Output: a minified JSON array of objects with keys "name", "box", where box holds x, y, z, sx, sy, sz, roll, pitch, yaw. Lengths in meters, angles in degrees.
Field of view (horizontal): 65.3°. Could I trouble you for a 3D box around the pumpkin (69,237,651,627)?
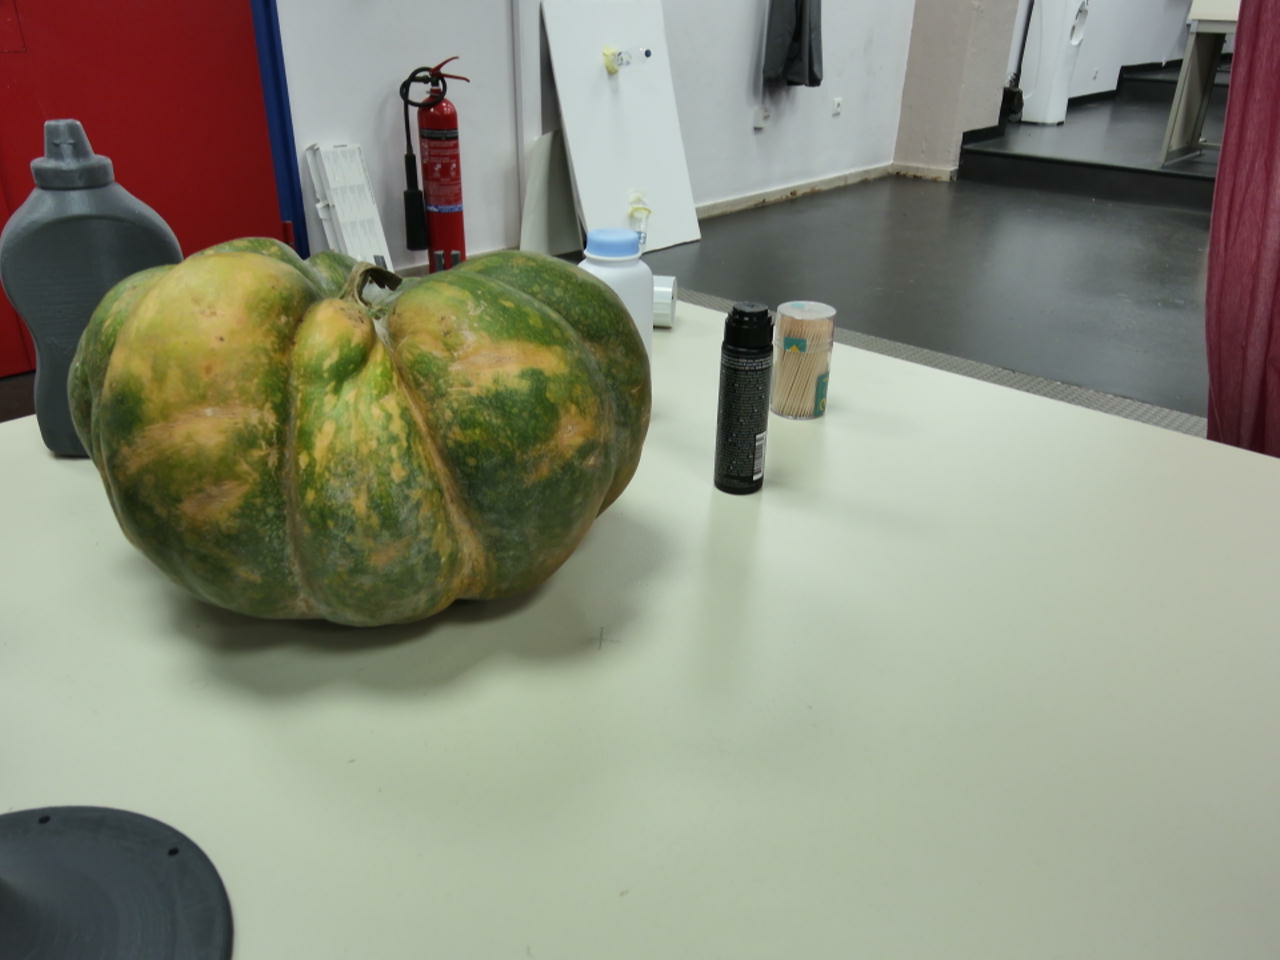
[{"name":"pumpkin","box":[-0.131,-0.034,0.476,0.270,0.173,0.237,-5,25,-11]}]
